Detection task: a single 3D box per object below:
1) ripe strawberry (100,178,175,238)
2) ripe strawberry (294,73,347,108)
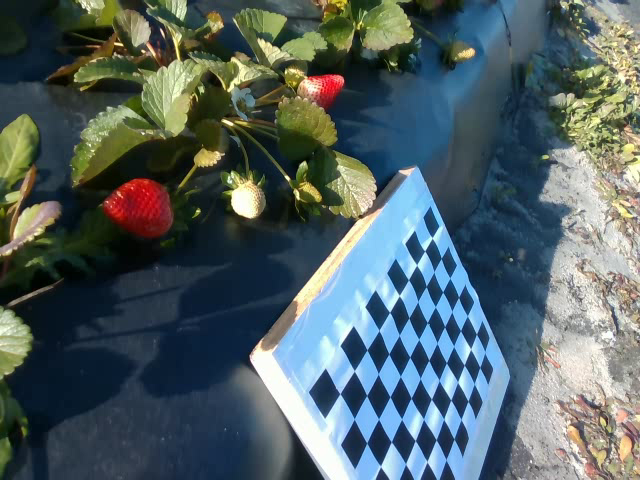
[{"bbox_3d":[-0.105,-0.019,0.338,0.036,0.044,0.053,-11,-2,30],"label":"ripe strawberry"},{"bbox_3d":[0.001,-0.122,0.486,0.045,0.037,0.042,-32,34,15],"label":"ripe strawberry"}]
